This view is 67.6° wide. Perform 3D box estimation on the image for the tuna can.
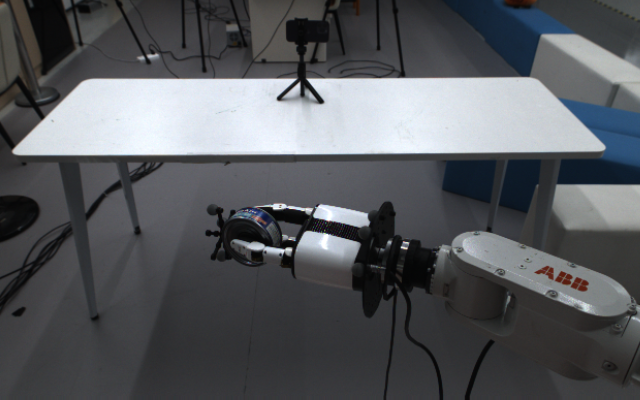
[{"bbox_3d":[-0.099,0.053,0.712,0.085,0.085,0.034,12,28,14],"label":"tuna can"}]
